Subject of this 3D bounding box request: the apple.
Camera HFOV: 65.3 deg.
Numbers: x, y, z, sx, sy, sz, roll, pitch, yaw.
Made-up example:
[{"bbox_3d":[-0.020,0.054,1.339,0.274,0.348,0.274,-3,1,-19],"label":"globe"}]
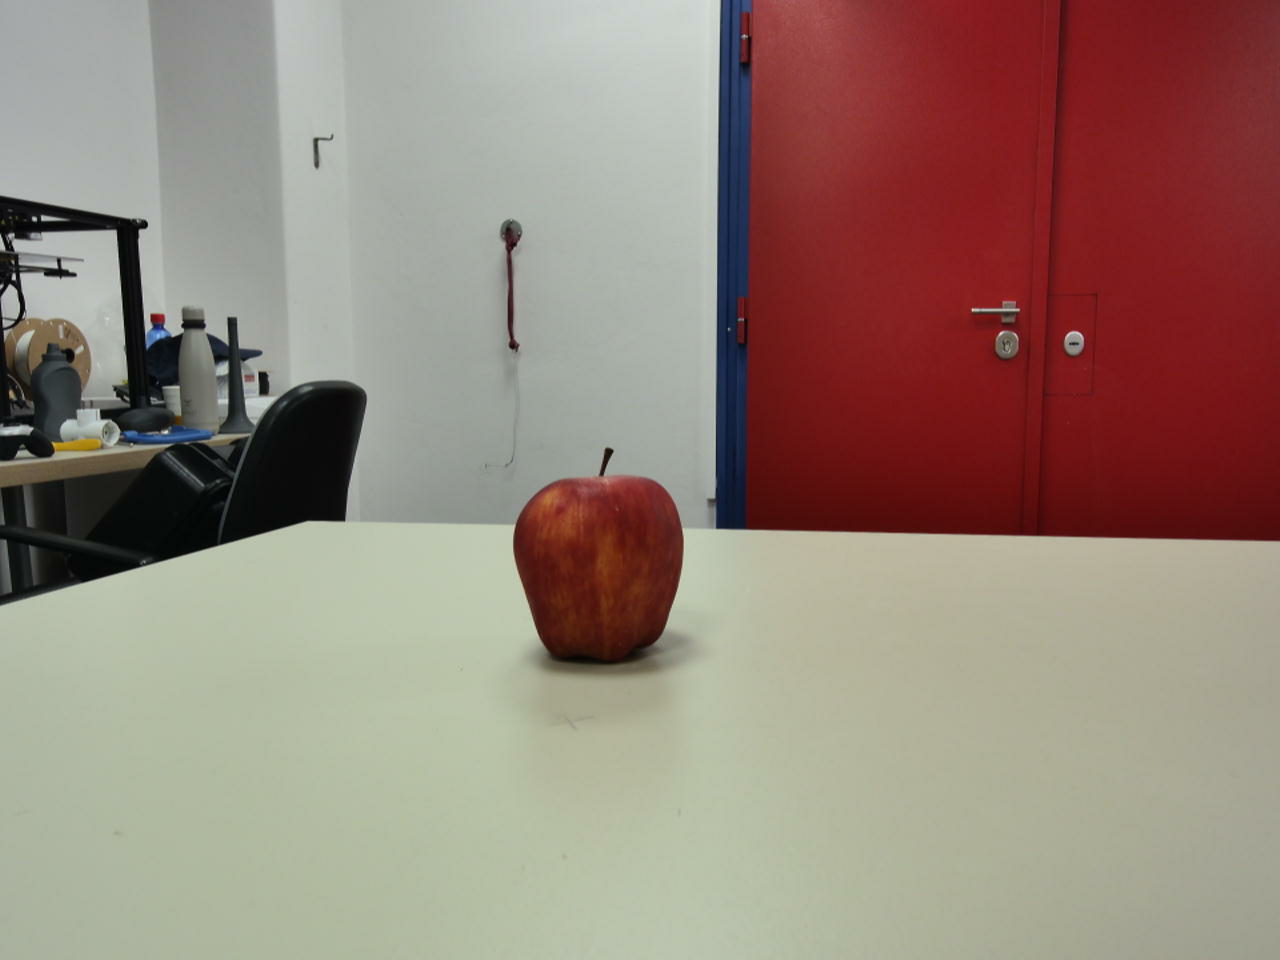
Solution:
[{"bbox_3d":[-0.019,0.031,0.443,0.083,0.090,0.083,-2,4,0],"label":"apple"}]
